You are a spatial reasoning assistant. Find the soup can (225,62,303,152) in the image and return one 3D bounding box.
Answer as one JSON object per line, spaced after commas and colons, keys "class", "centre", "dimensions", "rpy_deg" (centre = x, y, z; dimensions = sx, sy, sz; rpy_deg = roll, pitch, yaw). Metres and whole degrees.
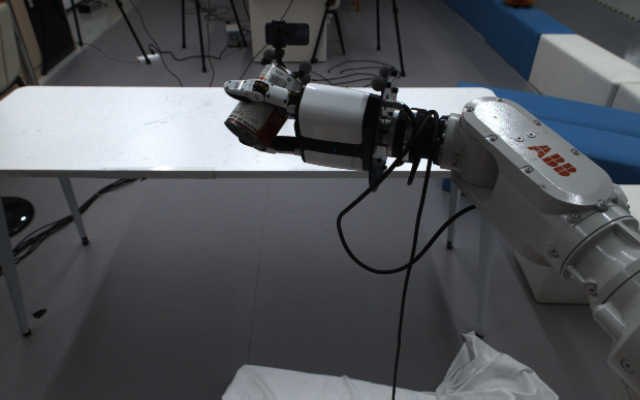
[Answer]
{"class": "soup can", "centre": [-0.073, -0.125, 0.661], "dimensions": [0.067, 0.067, 0.101], "rpy_deg": [27, 79, 31]}
